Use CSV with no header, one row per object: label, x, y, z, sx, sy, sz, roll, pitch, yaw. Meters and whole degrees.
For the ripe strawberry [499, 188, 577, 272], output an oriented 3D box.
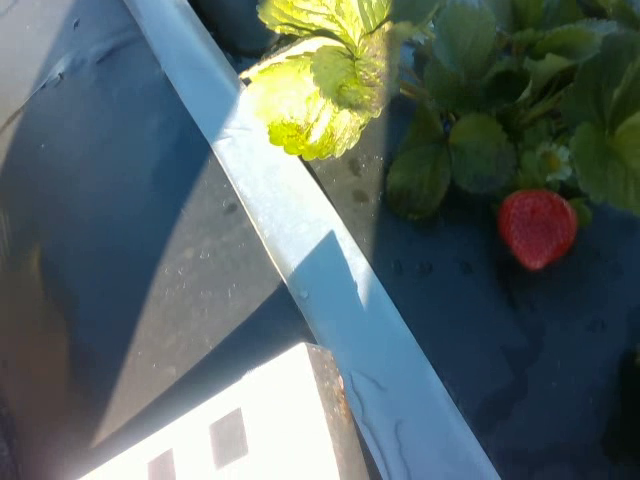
ripe strawberry,0.112,-0.004,0.333,0.045,0.059,0.042,-10,-43,39
